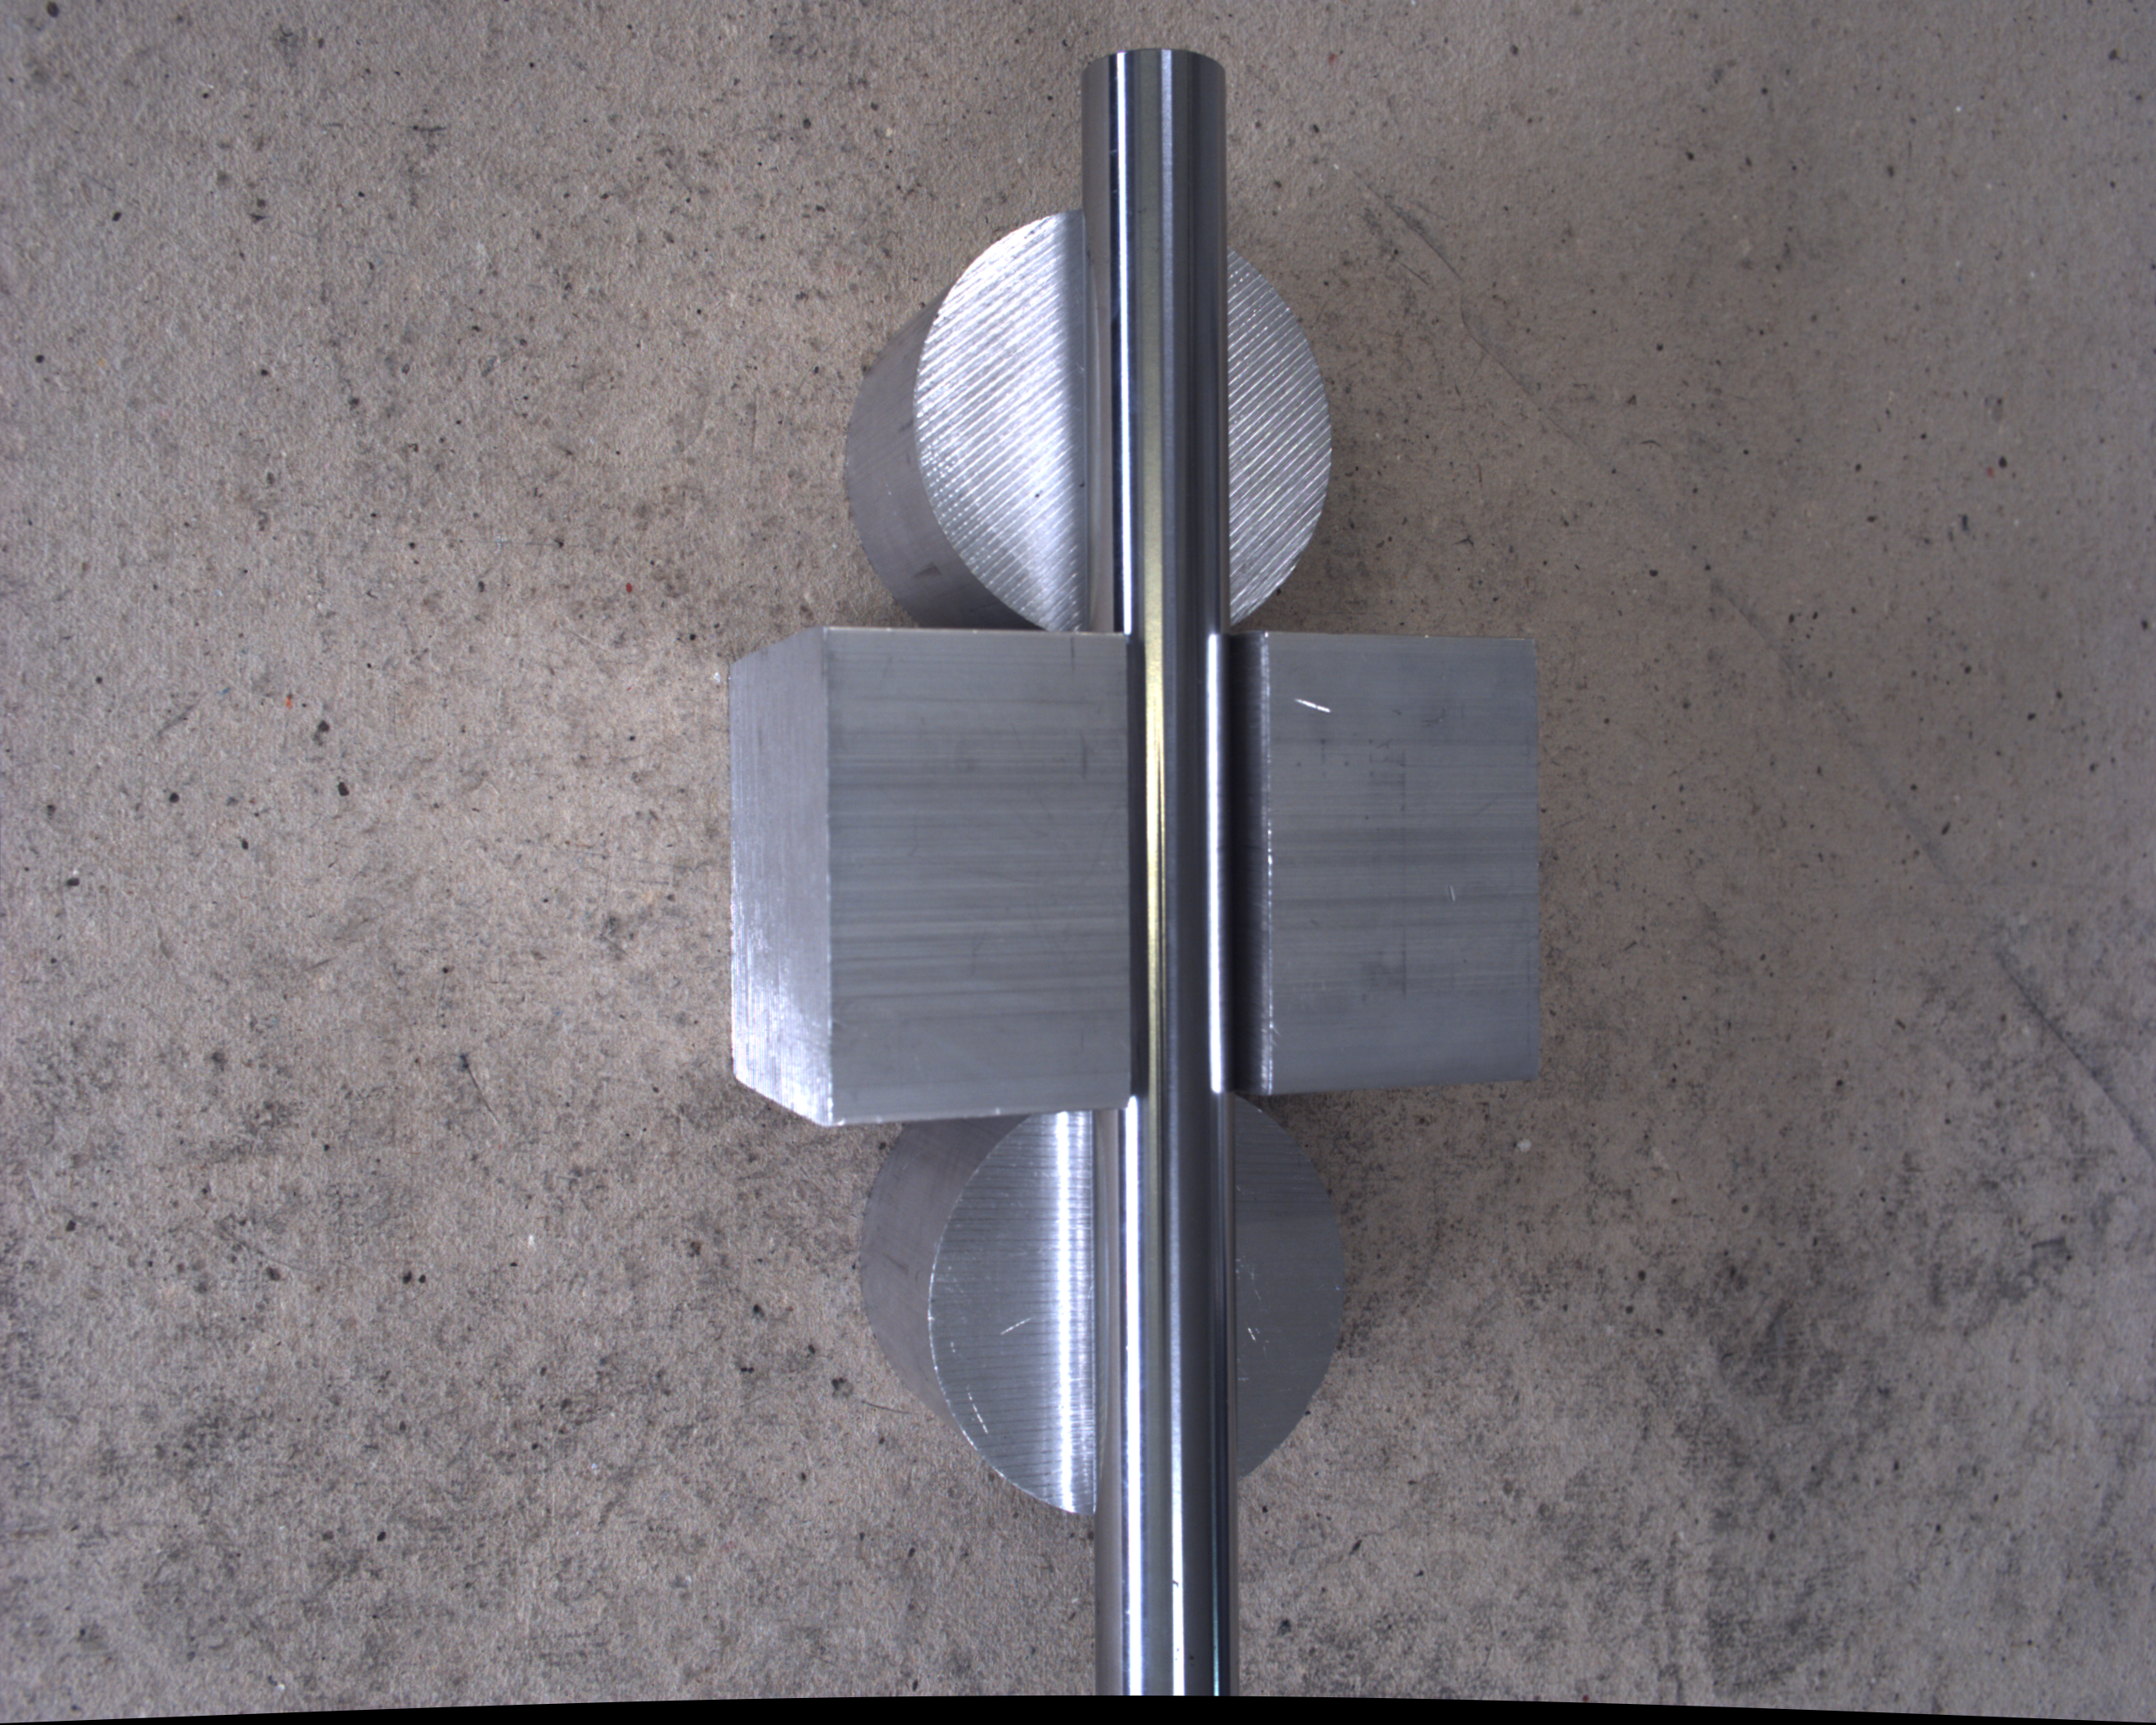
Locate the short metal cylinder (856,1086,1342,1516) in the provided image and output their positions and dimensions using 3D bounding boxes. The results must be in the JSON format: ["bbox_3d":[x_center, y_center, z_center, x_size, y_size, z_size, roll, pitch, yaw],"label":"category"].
[{"bbox_3d":[0.003,0.078,0.399,0.081,0.050,0.080,0,90,-20],"label":"short metal cylinder"}]

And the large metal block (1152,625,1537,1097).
[{"bbox_3d":[0.043,-0.001,0.397,0.050,0.080,0.080,-1,90,-20],"label":"large metal block"}]

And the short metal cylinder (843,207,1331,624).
[{"bbox_3d":[0.001,-0.078,0.397,0.081,0.050,0.080,0,90,-20],"label":"short metal cylinder"}]

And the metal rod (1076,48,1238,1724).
[{"bbox_3d":[0.014,0.013,0.362,0.025,0.025,0.298,-1,90,-20],"label":"metal rod"}]

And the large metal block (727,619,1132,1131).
[{"bbox_3d":[-0.029,0.001,0.370,0.050,0.080,0.080,-1,90,-20],"label":"large metal block"}]
